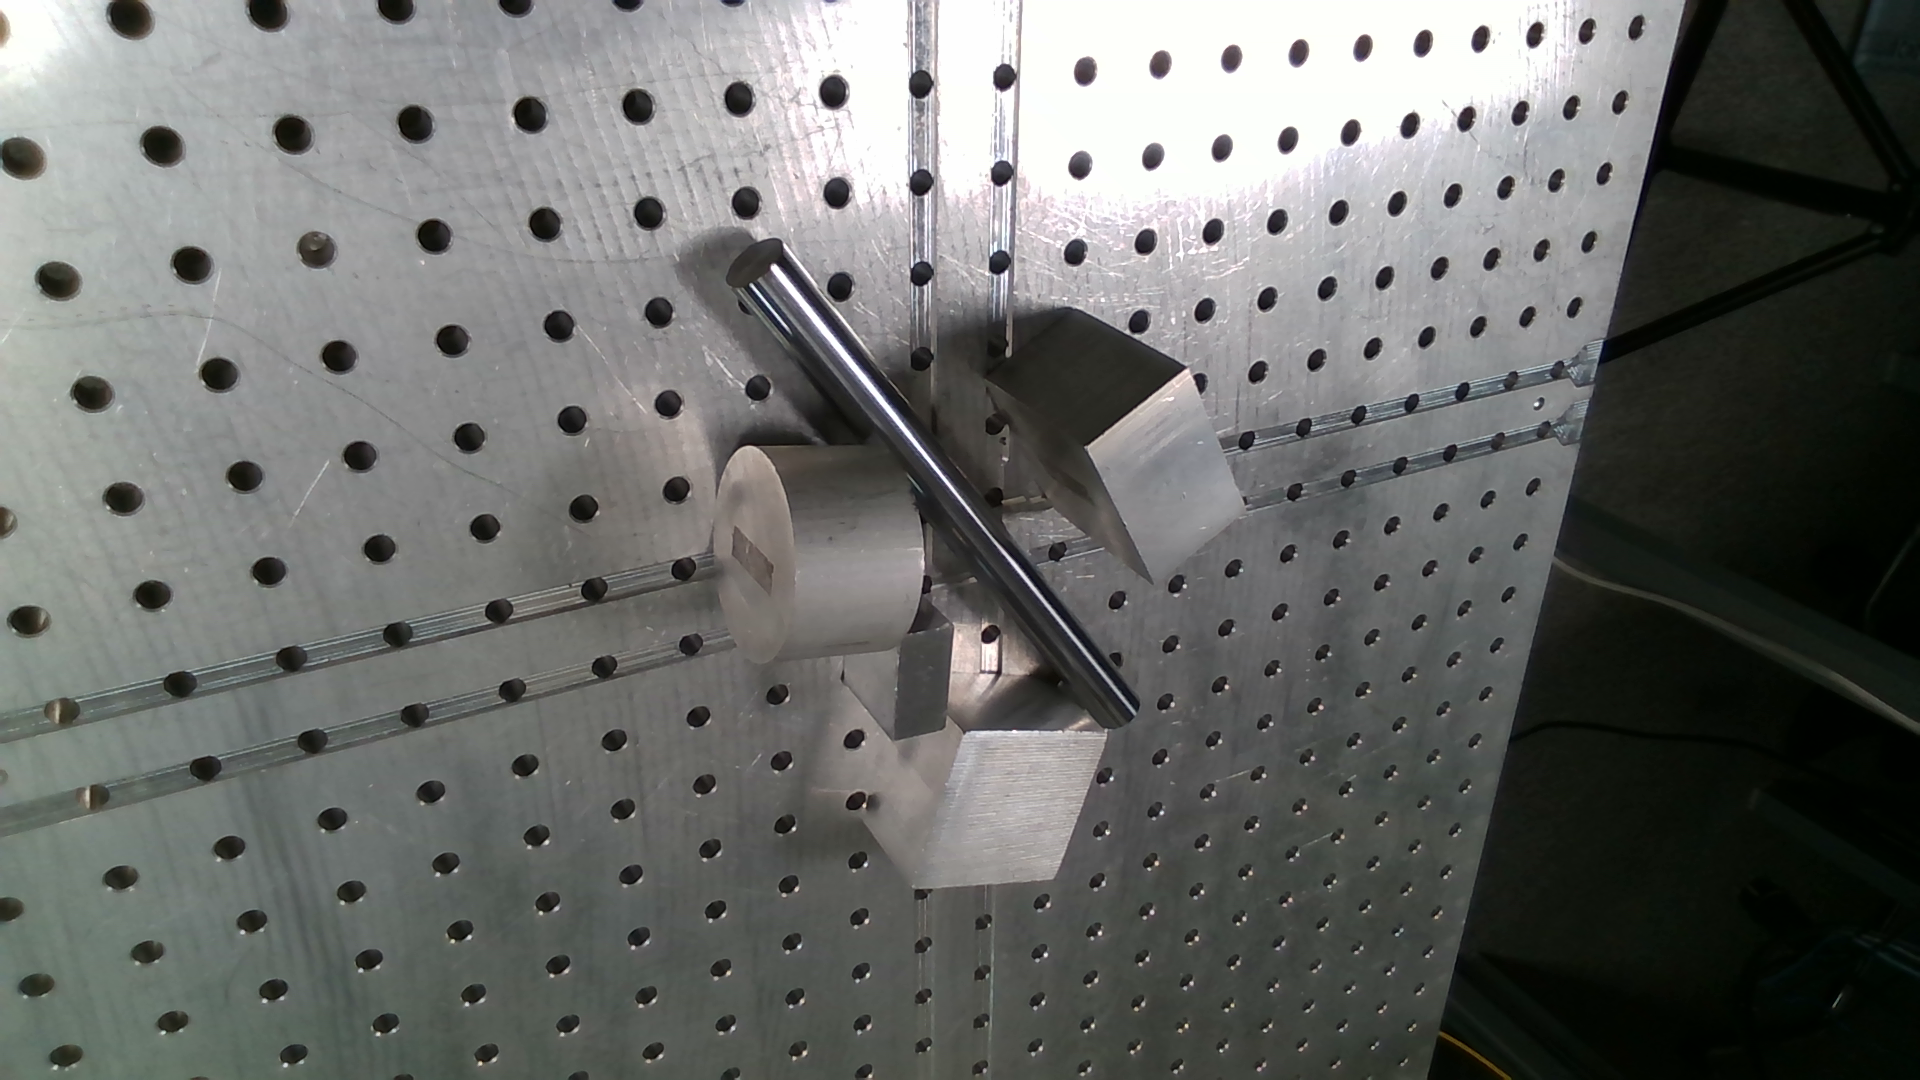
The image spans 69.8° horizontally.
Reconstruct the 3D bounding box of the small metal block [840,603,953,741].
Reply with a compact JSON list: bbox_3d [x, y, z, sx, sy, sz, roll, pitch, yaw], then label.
[{"bbox_3d":[-0.028,0.048,0.577,0.025,0.050,0.050,-10,119,-27],"label":"small metal block"}]

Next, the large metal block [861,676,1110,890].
[{"bbox_3d":[0.011,0.109,0.630,0.080,0.050,0.080,5,112,-34],"label":"large metal block"}]

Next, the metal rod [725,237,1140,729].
[{"bbox_3d":[0.002,-0.008,0.580,0.025,0.025,0.301,-43,129,-4],"label":"metal rod"}]

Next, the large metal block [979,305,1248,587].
[{"bbox_3d":[0.063,-0.040,0.567,0.050,0.080,0.080,-39,129,-8],"label":"large metal block"}]

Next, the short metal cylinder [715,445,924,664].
[{"bbox_3d":[-0.055,0.004,0.516,0.050,0.080,0.080,-3,116,-30],"label":"short metal cylinder"}]
